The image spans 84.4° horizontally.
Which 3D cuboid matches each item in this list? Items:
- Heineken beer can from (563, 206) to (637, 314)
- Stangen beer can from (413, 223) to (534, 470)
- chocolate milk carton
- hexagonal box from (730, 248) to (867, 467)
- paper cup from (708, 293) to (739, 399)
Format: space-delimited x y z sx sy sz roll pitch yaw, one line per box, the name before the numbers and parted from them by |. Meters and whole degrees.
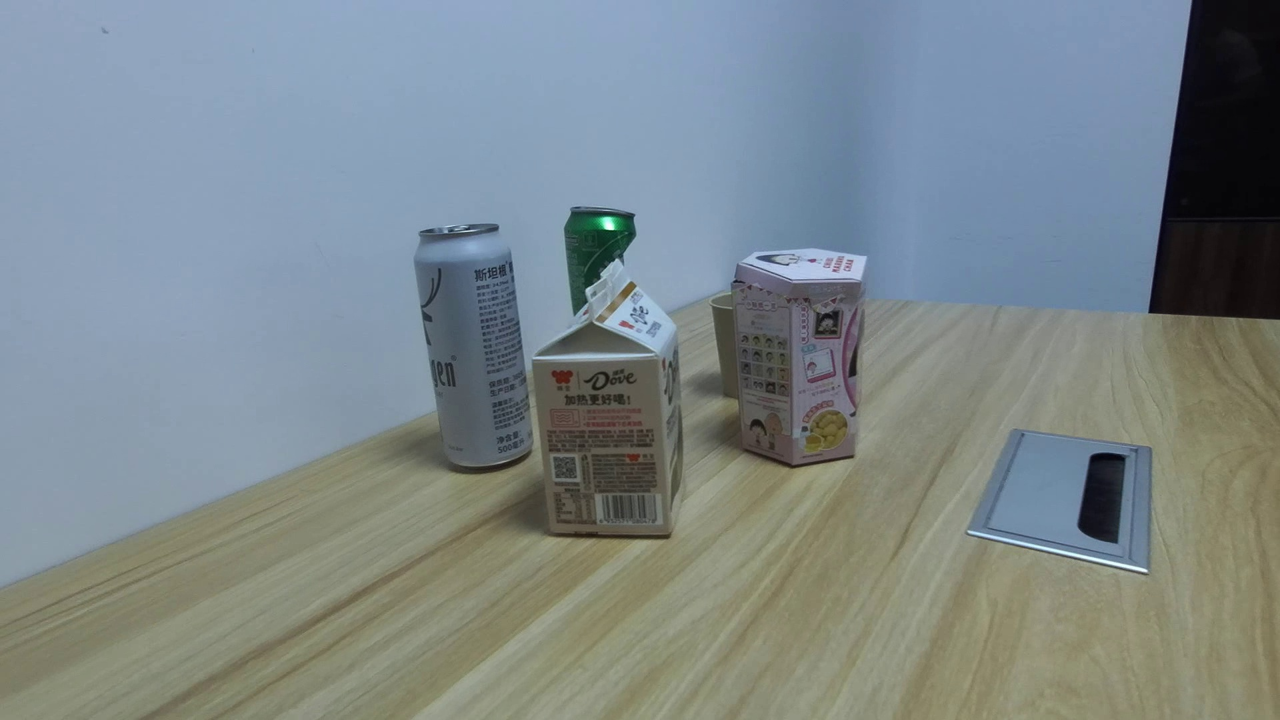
Heineken beer can | -0.029 -0.043 0.610 0.069 0.168 0.069 4 10 32
Stangen beer can | -0.119 -0.009 0.508 0.067 0.171 0.067 -3 16 1
chocolate milk carton | -0.015 0.020 0.417 0.074 0.148 0.075 -1 17 11
hexagonal box | 0.112 -0.005 0.492 0.085 0.135 0.092 3 18 21
paper cup | 0.105 -0.016 0.666 0.075 0.082 0.075 -2 16 1
